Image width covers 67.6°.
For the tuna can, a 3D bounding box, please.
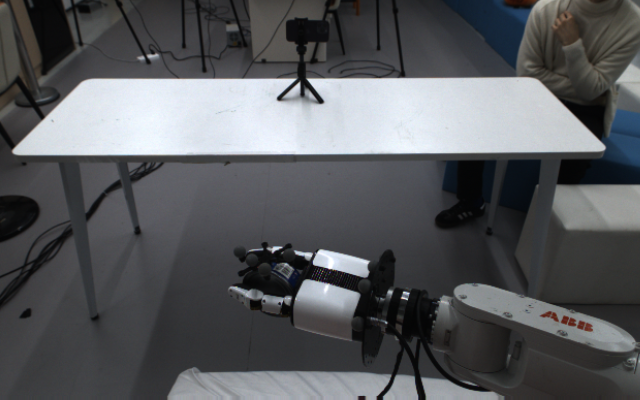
[{"bbox_3d":[-0.064,0.126,0.695,0.085,0.085,0.034,14,33,17],"label":"tuna can"}]
